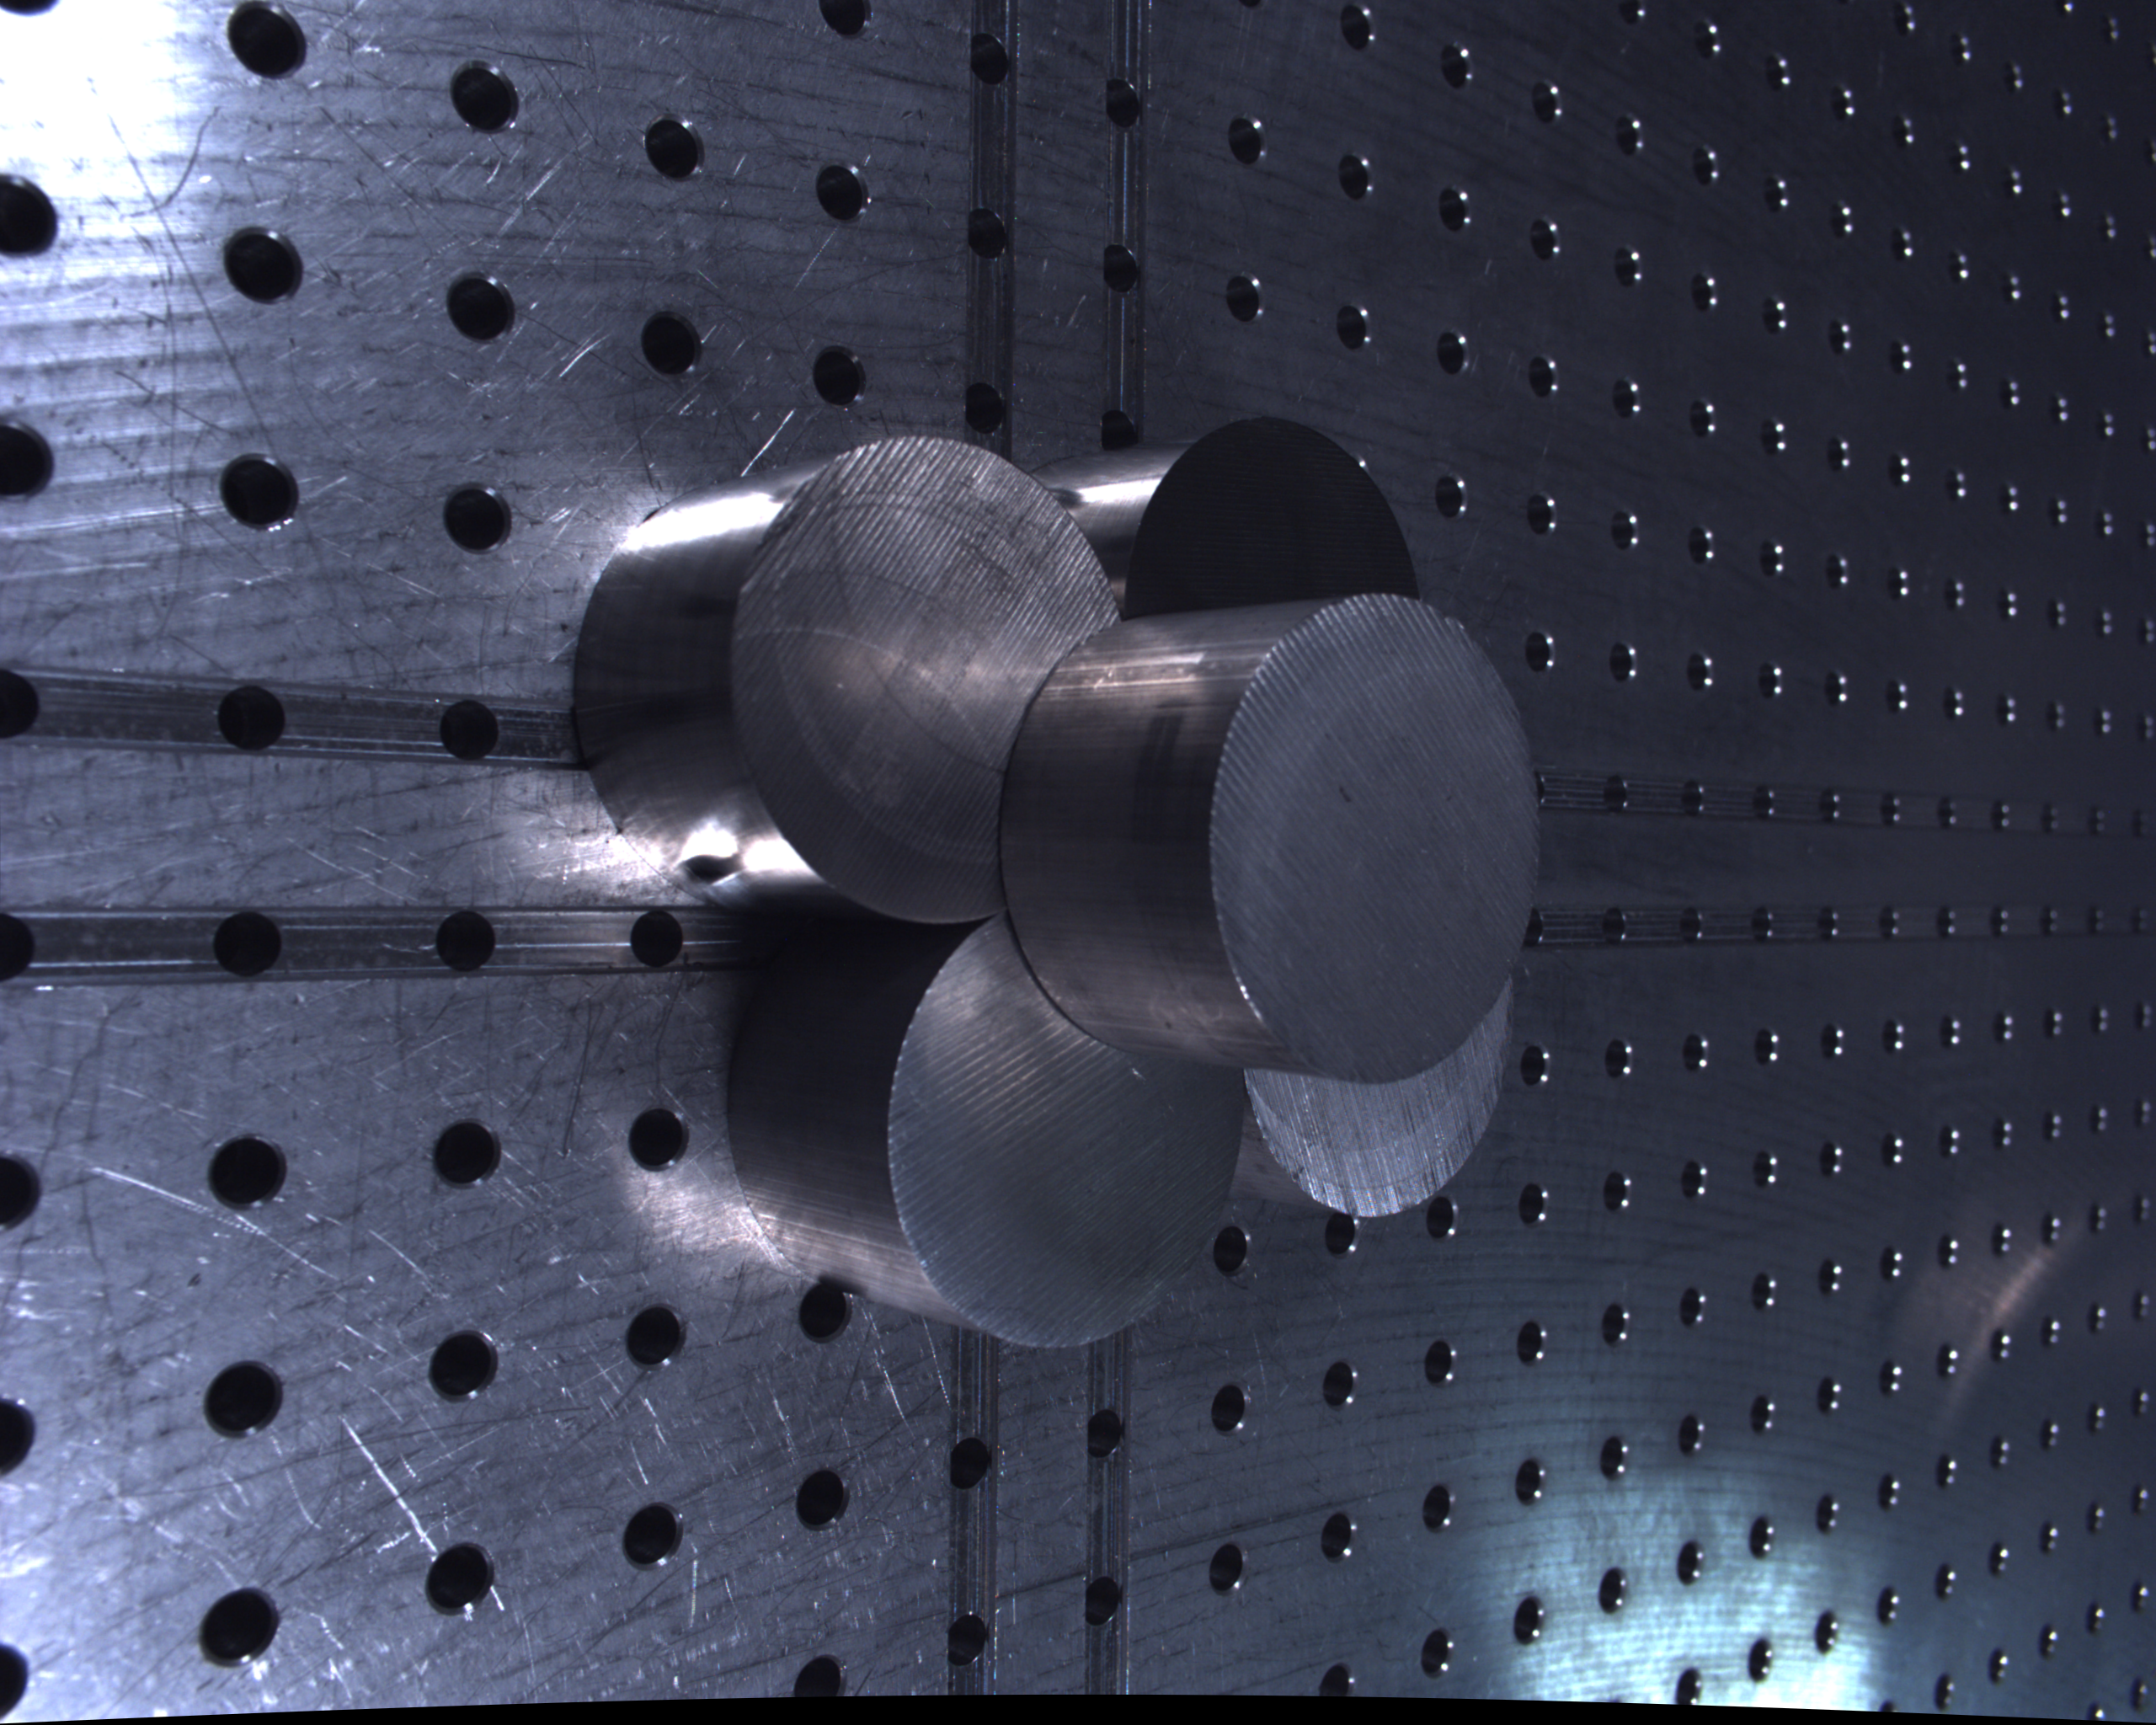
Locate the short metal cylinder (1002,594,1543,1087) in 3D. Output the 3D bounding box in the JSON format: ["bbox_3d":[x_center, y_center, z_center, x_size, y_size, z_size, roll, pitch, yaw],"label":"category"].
[{"bbox_3d":[0.034,-0.004,0.356,0.081,0.050,0.079,-2,93,-41],"label":"short metal cylinder"}]

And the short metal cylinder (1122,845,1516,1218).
[{"bbox_3d":[0.045,0.030,0.432,0.081,0.050,0.079,0,90,-40],"label":"short metal cylinder"}]

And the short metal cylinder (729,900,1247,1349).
[{"bbox_3d":[-0.016,0.044,0.381,0.081,0.050,0.079,0,90,-40],"label":"short metal cylinder"}]

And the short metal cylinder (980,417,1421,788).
[{"bbox_3d":[0.023,-0.044,0.413,0.081,0.050,0.079,0,90,-40],"label":"short metal cylinder"}]

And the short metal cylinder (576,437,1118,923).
[{"bbox_3d":[-0.038,-0.030,0.361,0.081,0.050,0.079,0,90,-40],"label":"short metal cylinder"}]
